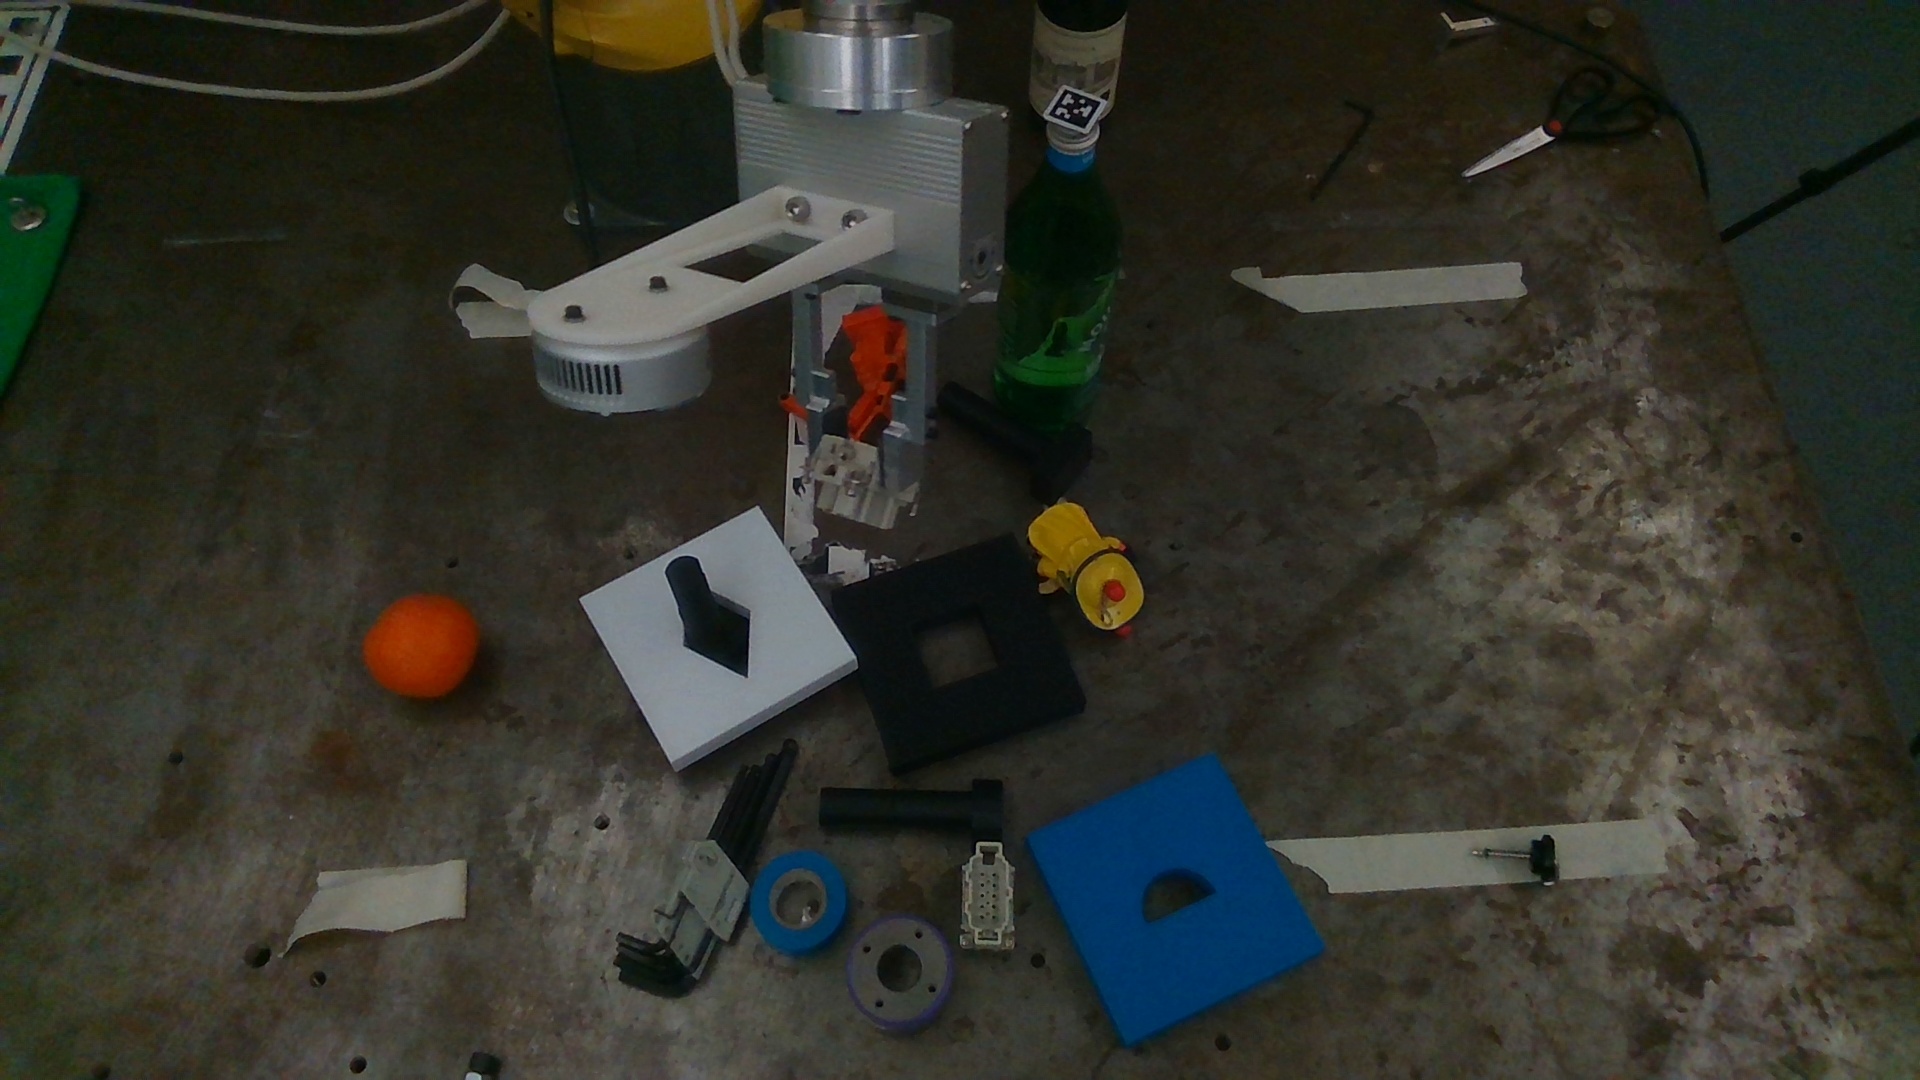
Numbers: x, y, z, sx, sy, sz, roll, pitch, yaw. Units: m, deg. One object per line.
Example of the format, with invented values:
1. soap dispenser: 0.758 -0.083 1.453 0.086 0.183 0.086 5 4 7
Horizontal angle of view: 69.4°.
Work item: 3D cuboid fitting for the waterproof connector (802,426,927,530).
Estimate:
1. waterproof connector: -0.045 -0.028 0.654 0.037 0.069 0.038 16 88 26
